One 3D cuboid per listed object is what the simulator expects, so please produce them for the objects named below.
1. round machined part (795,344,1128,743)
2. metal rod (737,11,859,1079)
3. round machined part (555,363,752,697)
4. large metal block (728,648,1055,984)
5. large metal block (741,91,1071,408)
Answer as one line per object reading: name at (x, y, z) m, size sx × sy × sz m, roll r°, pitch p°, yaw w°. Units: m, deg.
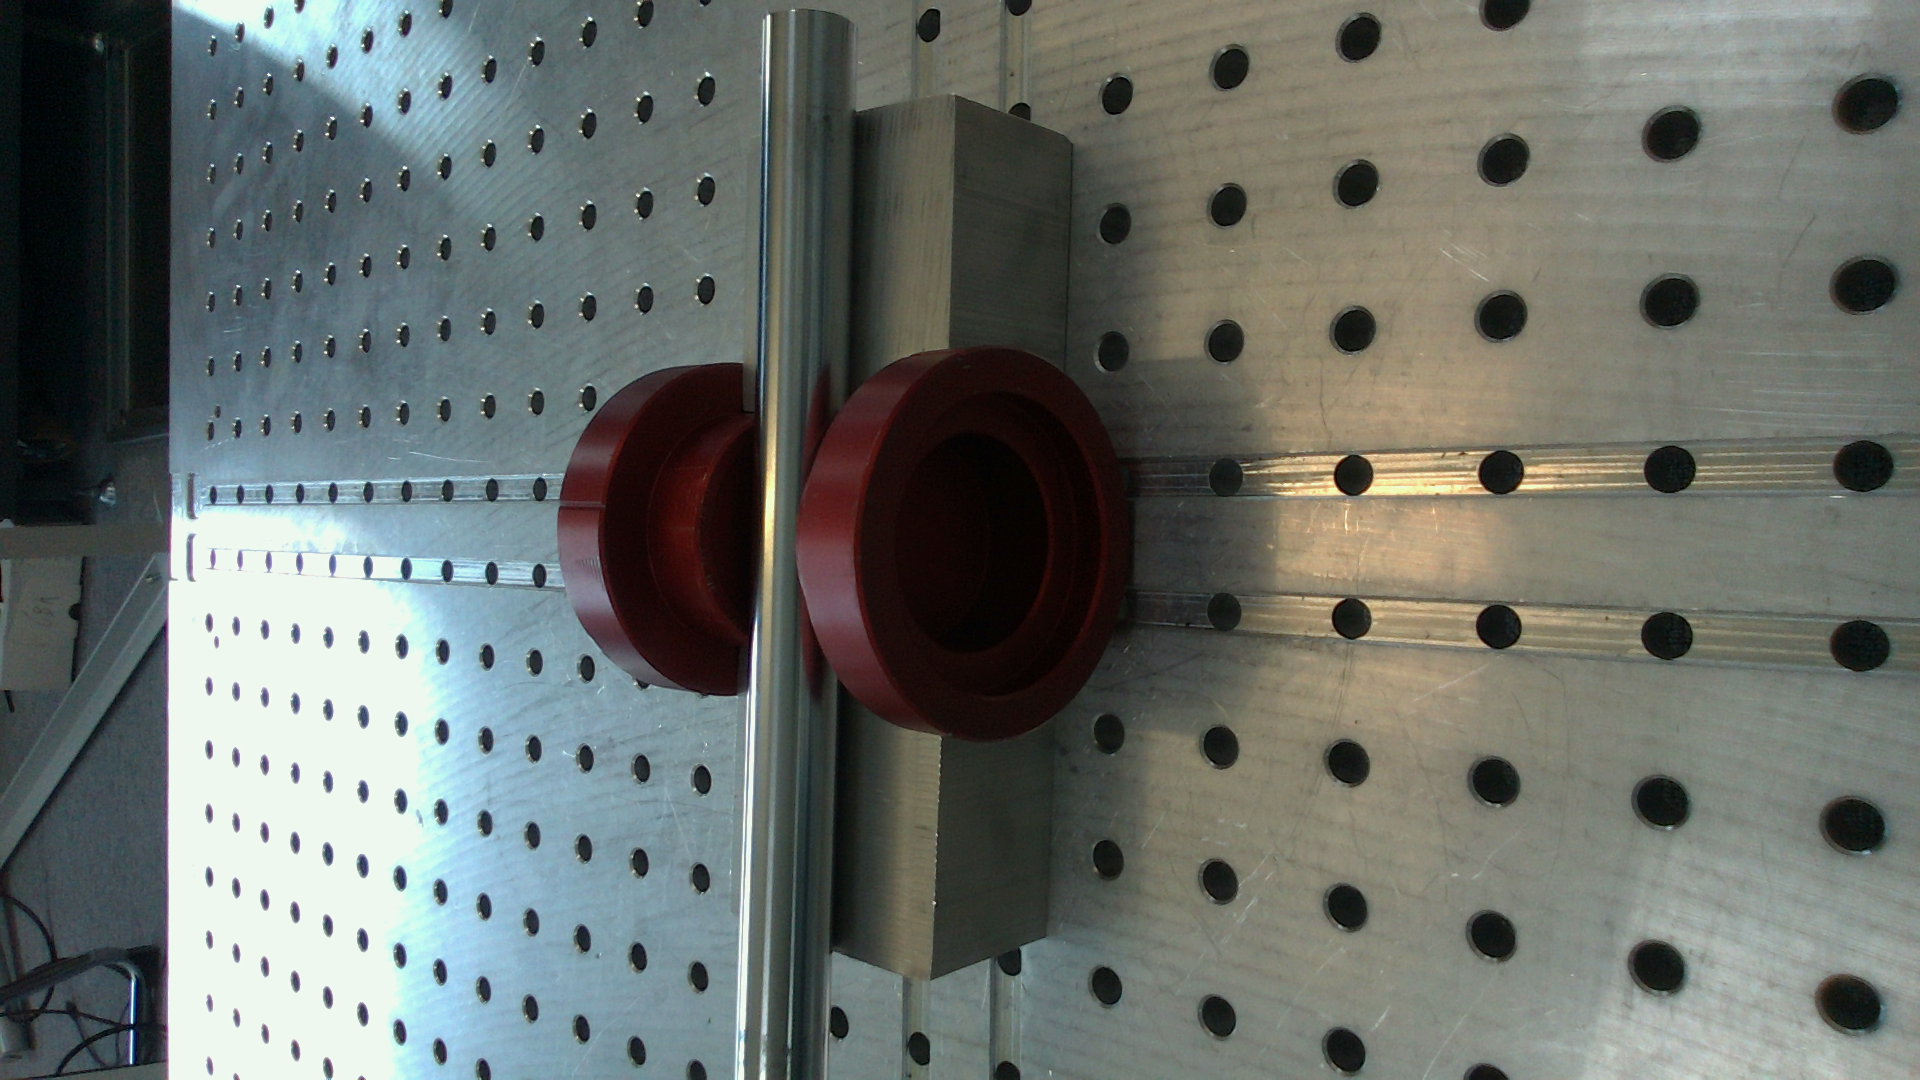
round machined part at (-0.003, 0.000, 0.352) m, size 0.042 × 0.098 × 0.098 m, roll 2°, pitch 92°, yaw 45°
metal rod at (-0.044, 0.014, 0.369) m, size 0.025 × 0.025 × 0.300 m, roll 3°, pitch 92°, yaw 40°
round machined part at (-0.065, -0.003, 0.403) m, size 0.042 × 0.098 × 0.098 m, roll 2°, pitch 92°, yaw 40°
large metal block at (-0.020, 0.073, 0.398) m, size 0.080 × 0.050 × 0.080 m, roll 4°, pitch 92°, yaw 40°
large metal block at (-0.016, -0.076, 0.395) m, size 0.080 × 0.050 × 0.080 m, roll 3°, pitch 92°, yaw 40°
